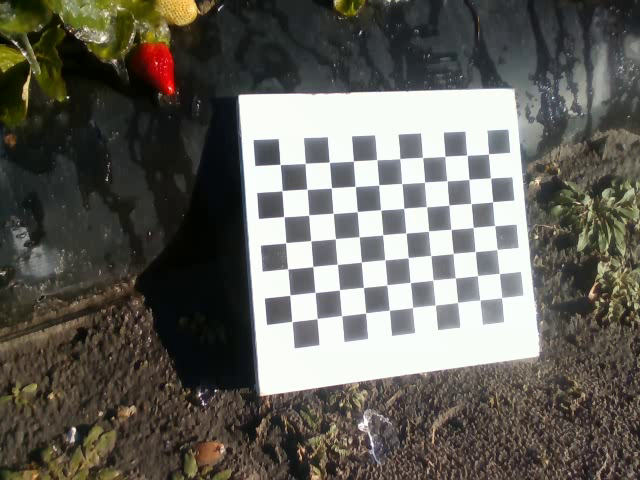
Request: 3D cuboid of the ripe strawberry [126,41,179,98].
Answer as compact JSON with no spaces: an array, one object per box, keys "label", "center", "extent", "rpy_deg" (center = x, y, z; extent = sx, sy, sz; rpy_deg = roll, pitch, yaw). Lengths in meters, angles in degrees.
[{"label":"ripe strawberry","center":[-0.145,-0.147,0.492],"extent":[0.041,0.052,0.040],"rpy_deg":[-23,-5,-16]}]
